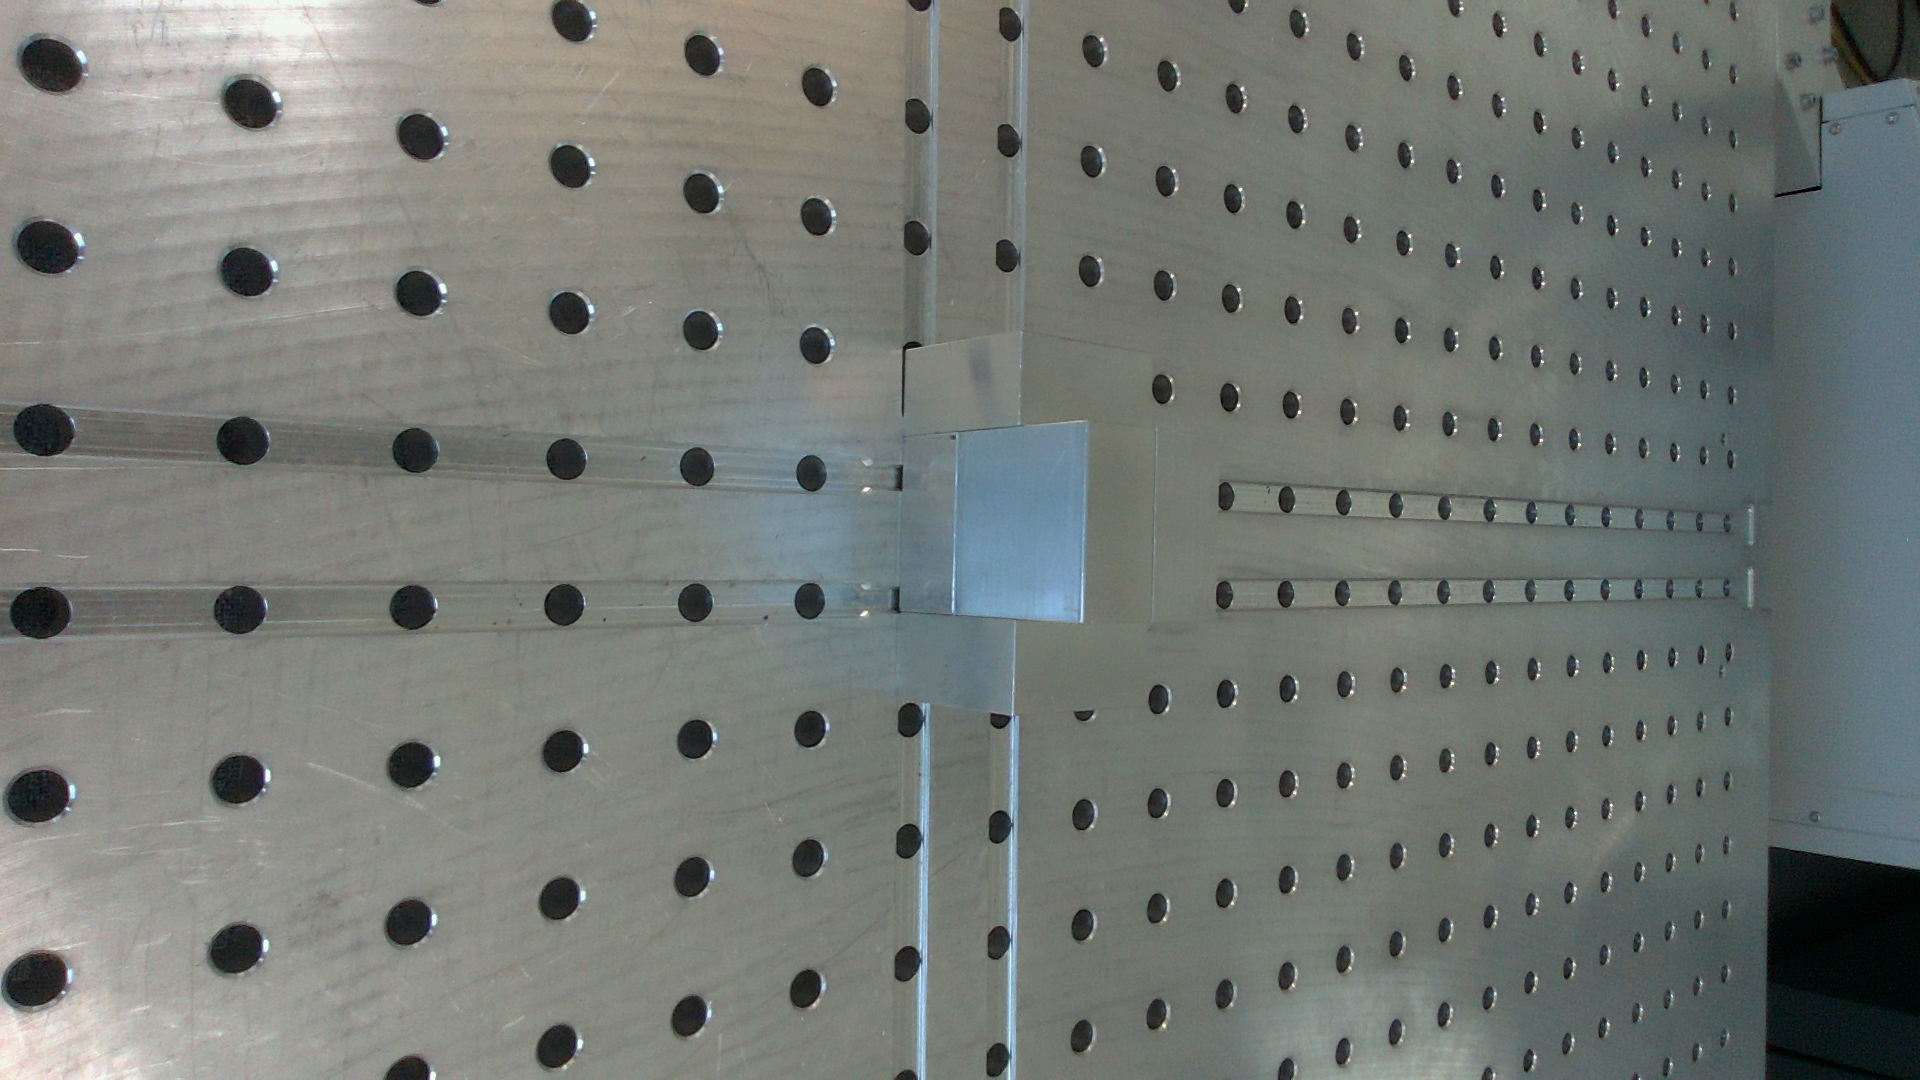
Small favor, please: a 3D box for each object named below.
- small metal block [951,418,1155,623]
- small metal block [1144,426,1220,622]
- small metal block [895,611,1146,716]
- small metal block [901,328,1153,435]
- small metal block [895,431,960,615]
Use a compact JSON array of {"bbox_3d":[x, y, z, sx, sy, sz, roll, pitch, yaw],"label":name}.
[{"bbox_3d":[0.024,-0.004,0.362,0.025,0.050,0.050,2,89,-40],"label":"small metal block"},{"bbox_3d":[0.044,-0.004,0.379,0.025,0.050,0.050,2,88,-39],"label":"small metal block"},{"bbox_3d":[0.017,0.033,0.389,0.050,0.050,0.025,2,89,-40],"label":"small metal block"},{"bbox_3d":[0.019,-0.042,0.390,0.050,0.050,0.025,3,89,-40],"label":"small metal block"},{"bbox_3d":[0.009,-0.004,0.399,0.050,0.025,0.050,2,89,-38],"label":"small metal block"}]
